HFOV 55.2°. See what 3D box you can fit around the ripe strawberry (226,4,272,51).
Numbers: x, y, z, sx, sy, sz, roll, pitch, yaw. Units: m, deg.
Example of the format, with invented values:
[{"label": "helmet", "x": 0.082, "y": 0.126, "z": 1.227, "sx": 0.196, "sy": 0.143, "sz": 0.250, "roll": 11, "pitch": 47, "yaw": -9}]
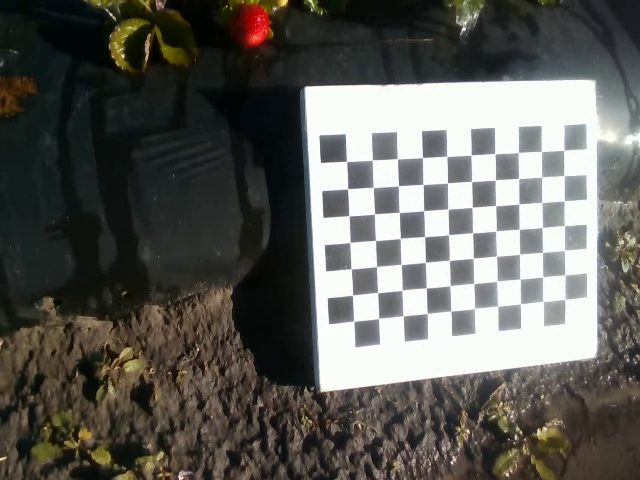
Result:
[{"label": "ripe strawberry", "x": -0.046, "y": -0.139, "z": 0.407, "sx": 0.039, "sy": 0.040, "sz": 0.039, "roll": -13, "pitch": 32, "yaw": -2}]
